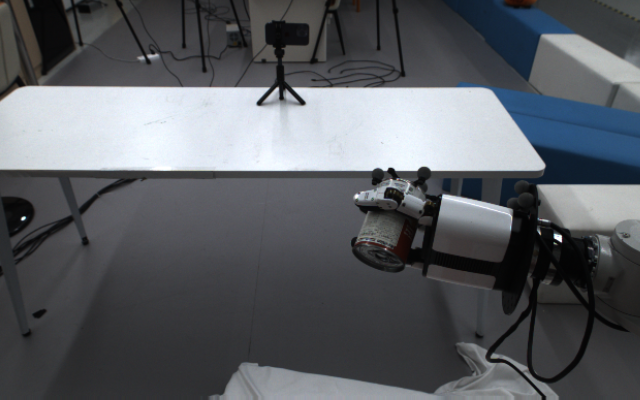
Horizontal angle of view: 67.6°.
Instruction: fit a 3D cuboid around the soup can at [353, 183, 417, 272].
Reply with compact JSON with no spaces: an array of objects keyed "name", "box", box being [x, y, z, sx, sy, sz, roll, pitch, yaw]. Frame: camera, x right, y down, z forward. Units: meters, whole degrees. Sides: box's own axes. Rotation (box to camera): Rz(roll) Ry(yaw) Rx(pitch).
[{"name":"soup can","box":[0.090,0.029,0.613,0.067,0.067,0.101,15,62,18]}]
